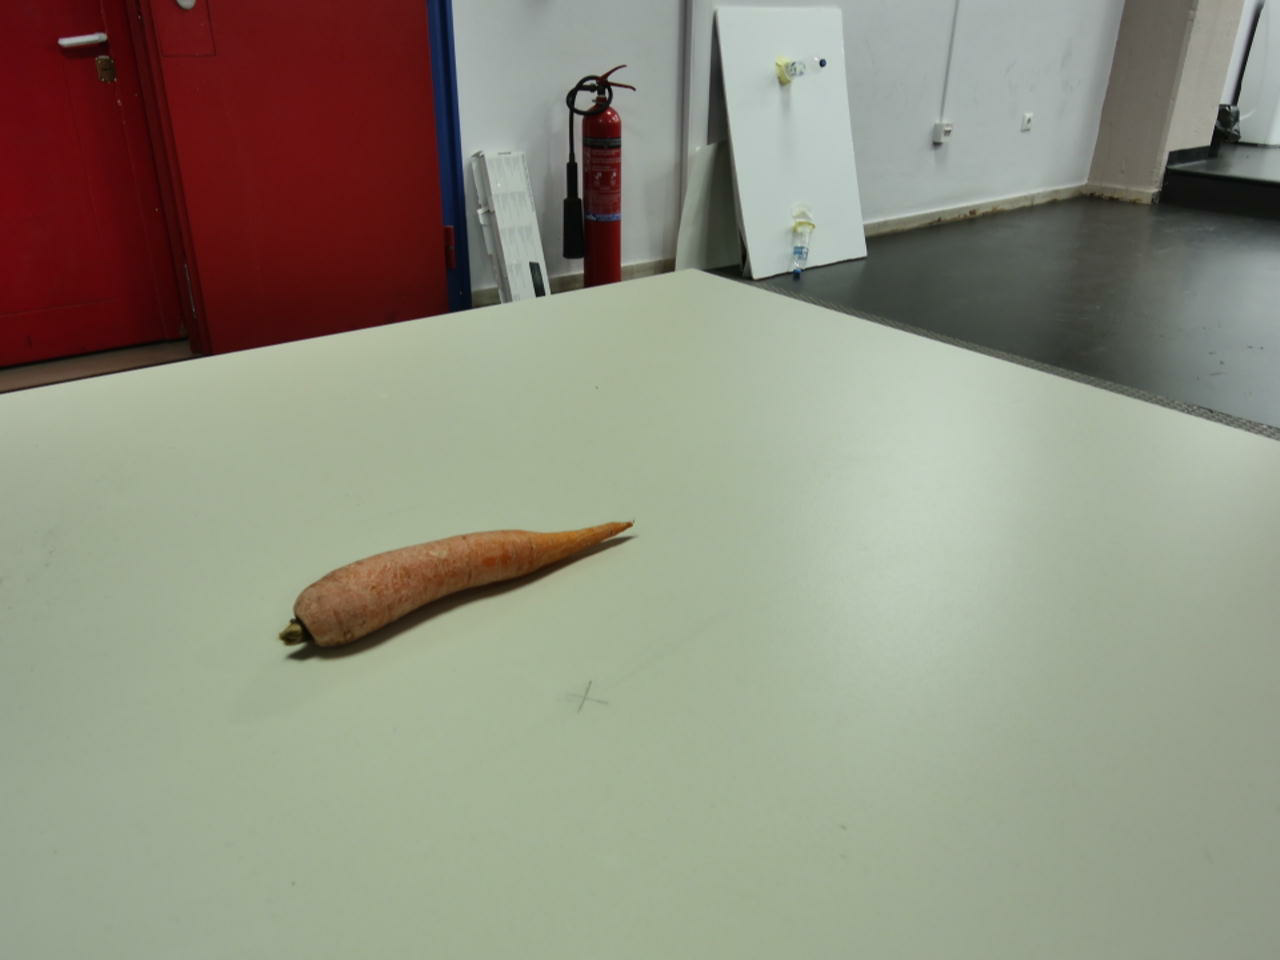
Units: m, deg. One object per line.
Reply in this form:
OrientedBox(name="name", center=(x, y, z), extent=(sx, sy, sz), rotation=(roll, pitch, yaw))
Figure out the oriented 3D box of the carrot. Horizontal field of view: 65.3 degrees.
OrientedBox(name="carrot", center=(-0.072, 0.034, 0.434), extent=(0.163, 0.029, 0.031), rotation=(-18, 29, -35))
